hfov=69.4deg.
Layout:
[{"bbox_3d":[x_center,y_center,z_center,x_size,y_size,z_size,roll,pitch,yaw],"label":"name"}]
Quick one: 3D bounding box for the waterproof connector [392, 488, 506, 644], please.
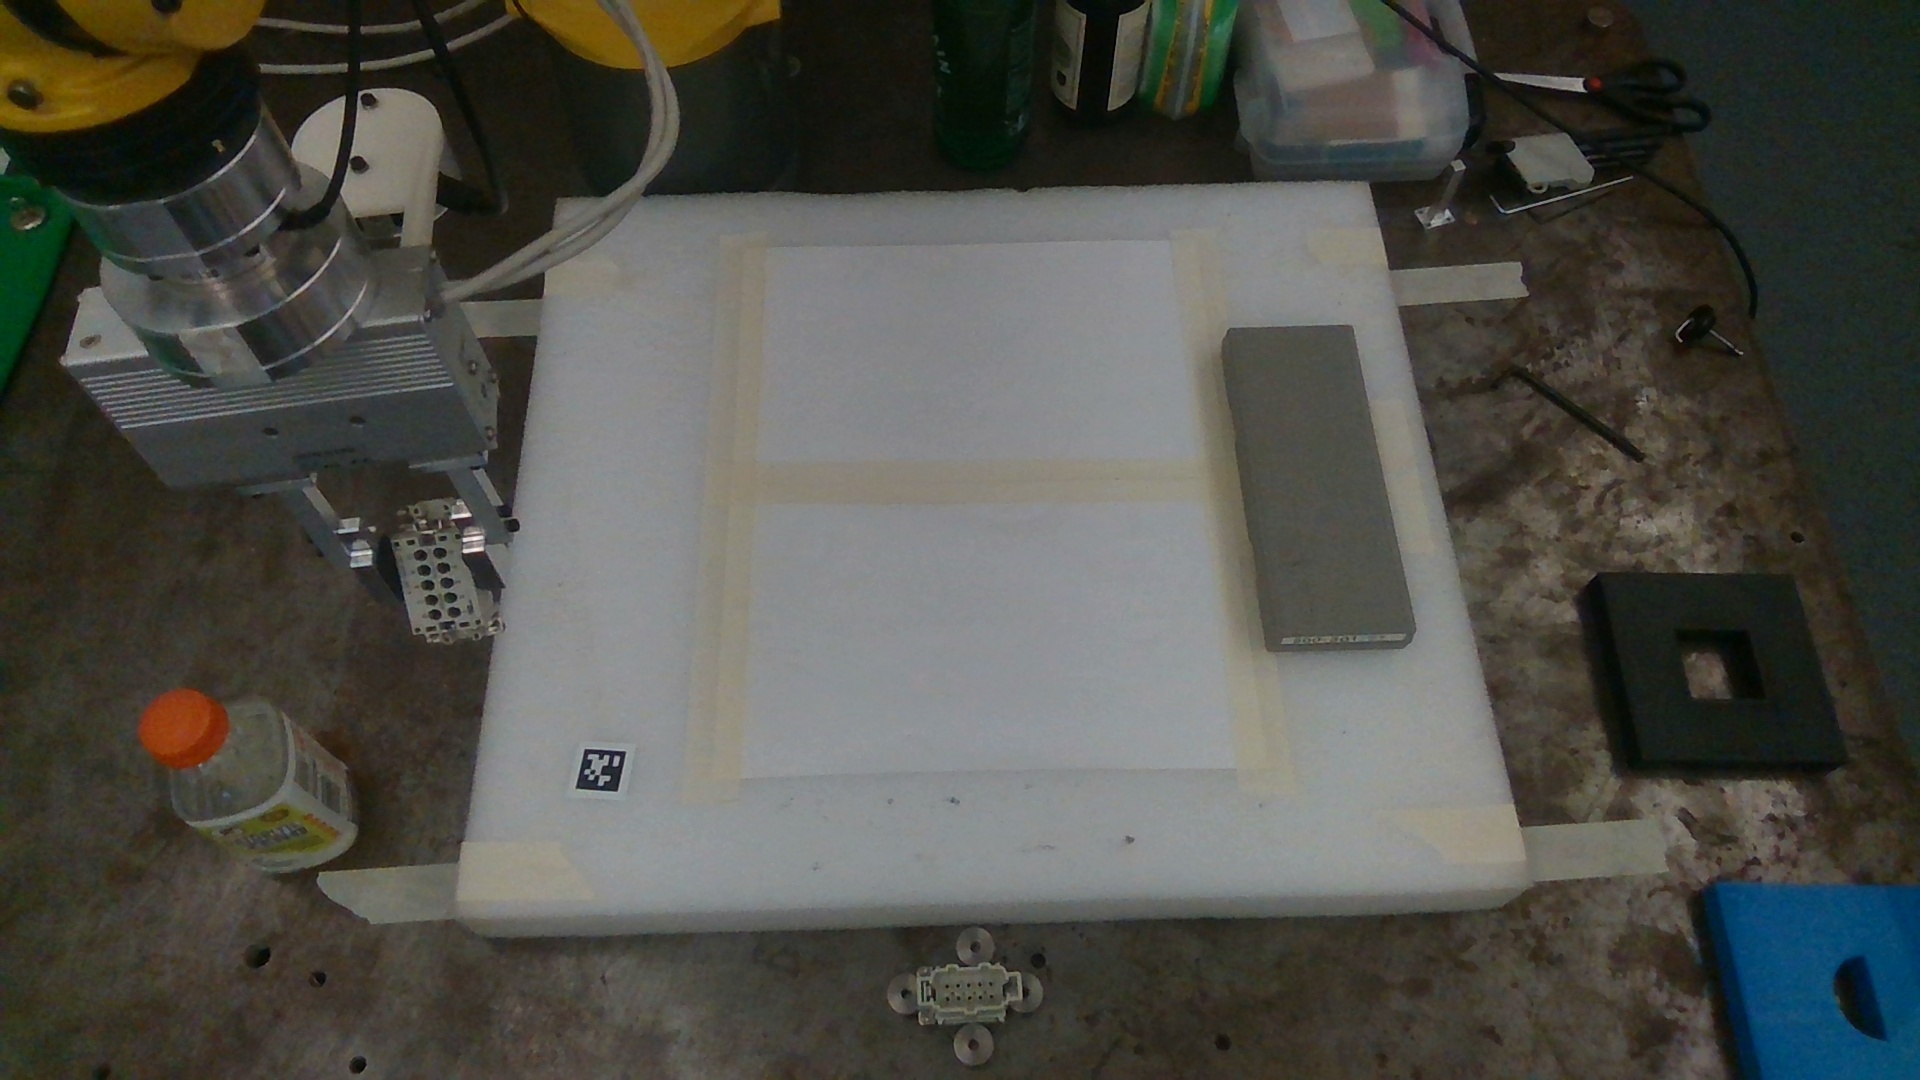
[{"bbox_3d":[-0.229,0.012,0.624,0.037,0.038,0.069,-8,105,-3],"label":"waterproof connector"}]
